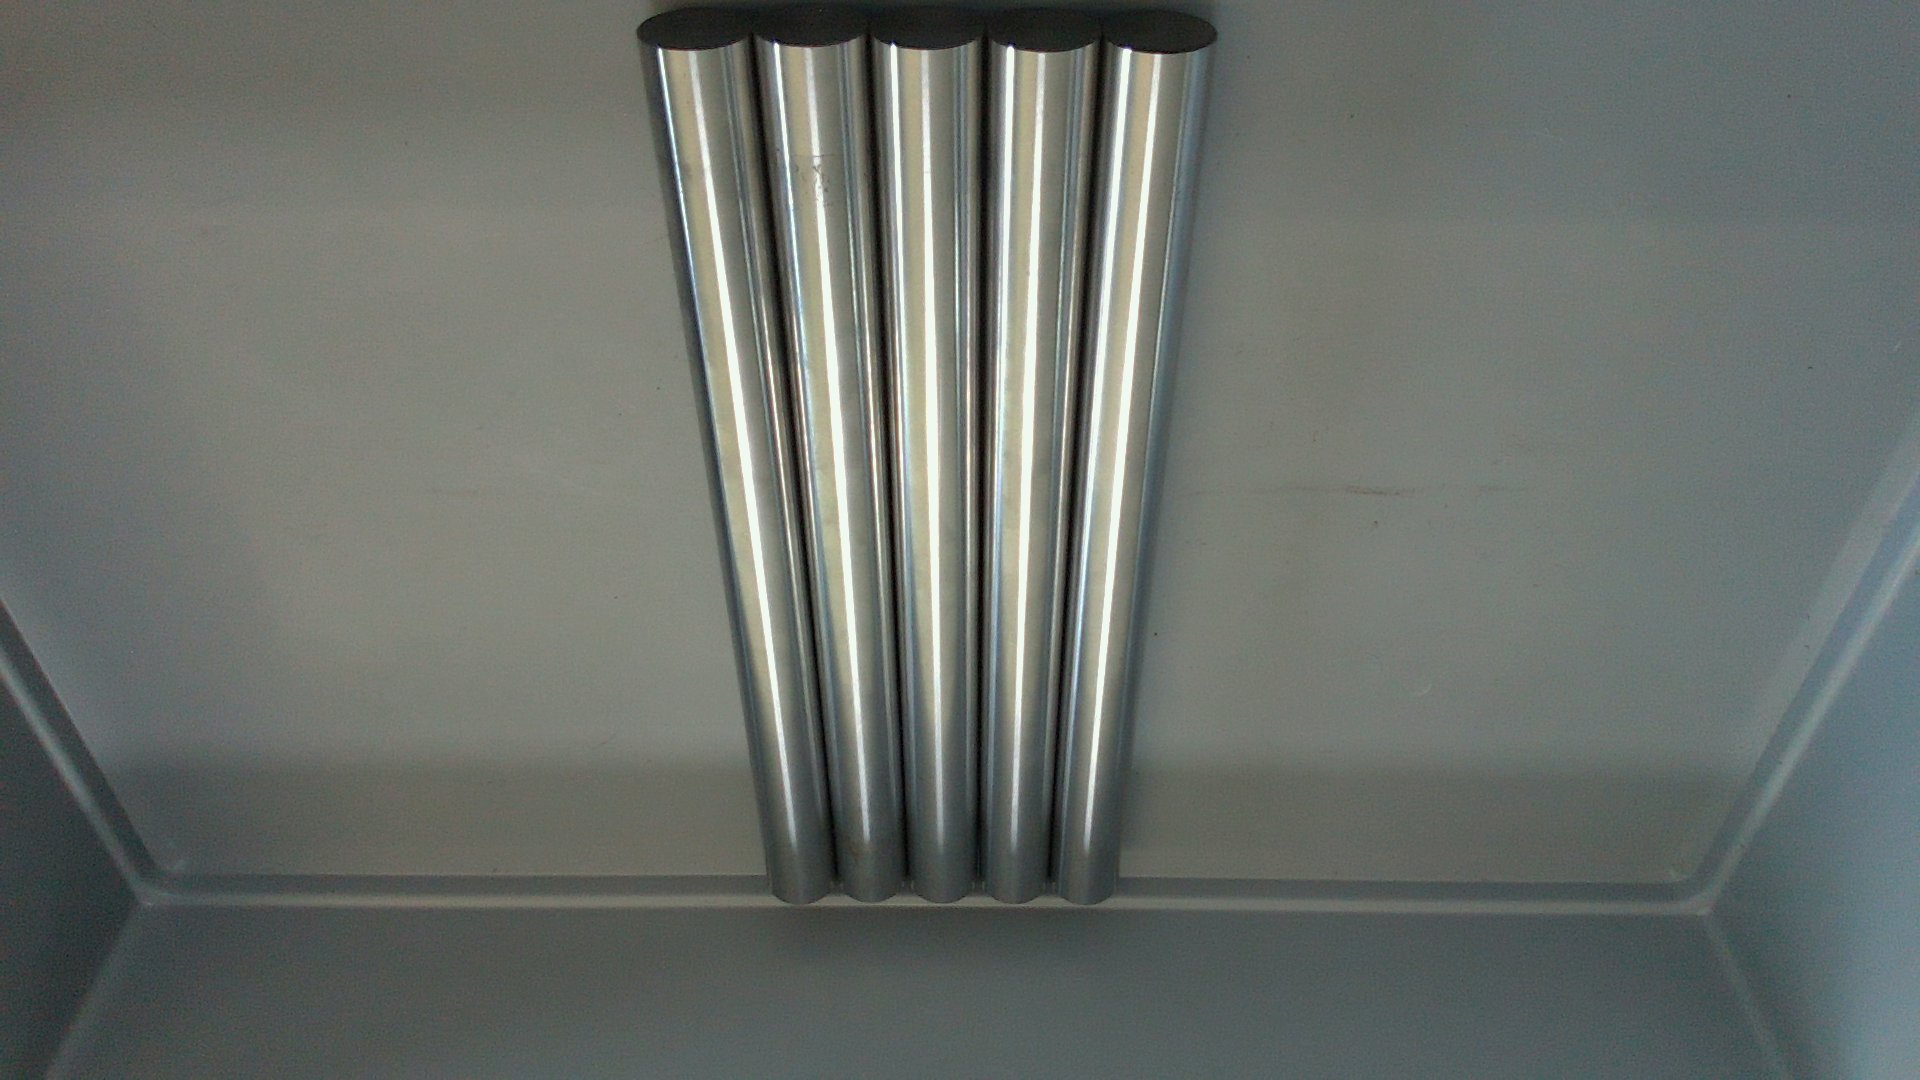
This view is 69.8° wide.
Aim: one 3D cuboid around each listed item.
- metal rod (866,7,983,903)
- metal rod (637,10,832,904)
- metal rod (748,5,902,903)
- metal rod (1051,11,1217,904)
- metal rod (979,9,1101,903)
[{"bbox_3d":[-0.007,0.004,0.393,0.025,0.025,0.300,0,130,0],"label":"metal rod"},{"bbox_3d":[-0.056,0.005,0.393,0.025,0.025,0.300,0,130,0],"label":"metal rod"},{"bbox_3d":[-0.033,0.004,0.393,0.025,0.025,0.300,0,130,0],"label":"metal rod"},{"bbox_3d":[0.043,0.005,0.394,0.025,0.025,0.300,0,130,0],"label":"metal rod"},{"bbox_3d":[0.018,0.004,0.393,0.025,0.025,0.300,0,130,0],"label":"metal rod"}]
